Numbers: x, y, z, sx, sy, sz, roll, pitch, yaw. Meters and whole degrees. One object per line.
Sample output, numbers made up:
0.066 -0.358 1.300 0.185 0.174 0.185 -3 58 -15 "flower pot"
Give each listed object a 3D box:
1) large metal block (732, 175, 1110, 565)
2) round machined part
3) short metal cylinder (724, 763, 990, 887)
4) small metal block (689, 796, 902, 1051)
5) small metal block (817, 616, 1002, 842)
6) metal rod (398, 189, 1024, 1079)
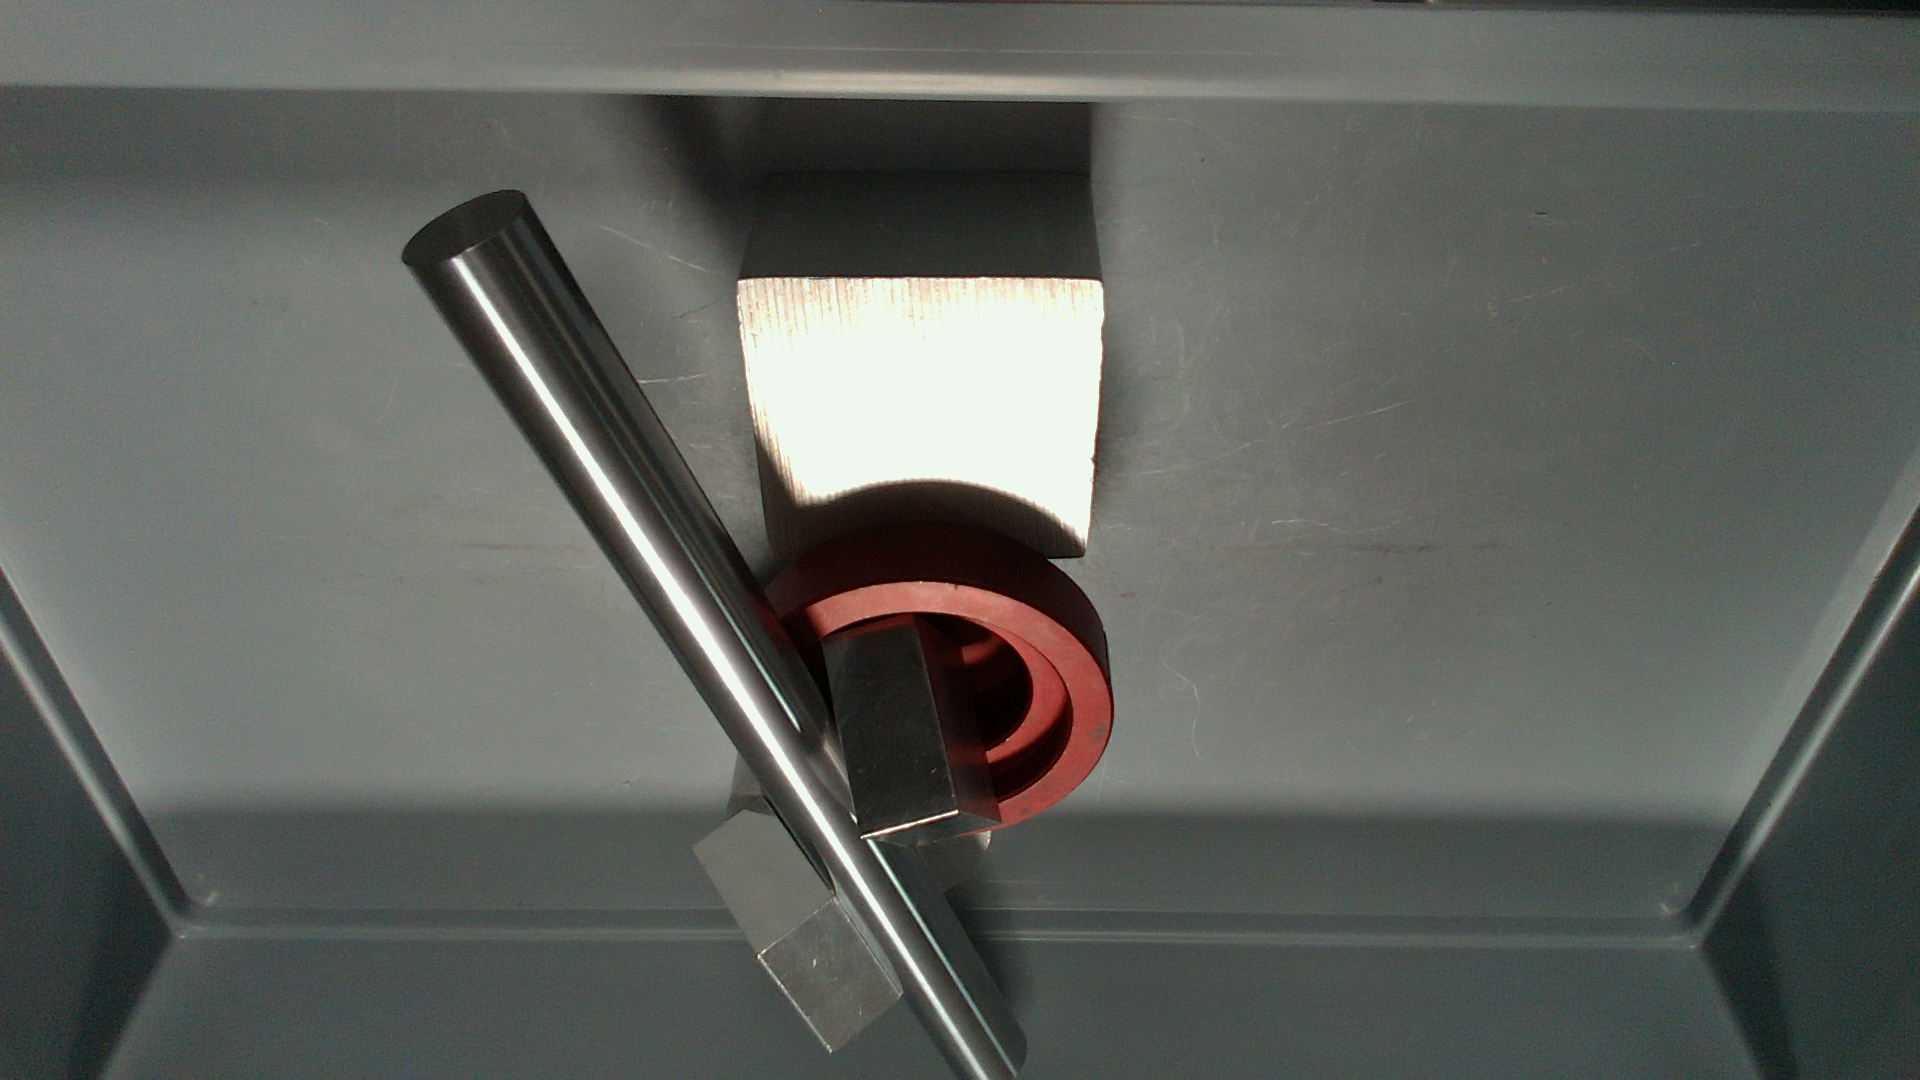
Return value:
-0.008 -0.041 0.337 0.080 0.050 0.080 0 130 0 "large metal block"
-0.009 0.033 0.367 0.098 0.042 0.098 0 130 0 "round machined part"
-0.031 0.070 0.433 0.080 0.050 0.080 0 130 0 "short metal cylinder"
-0.048 0.110 0.397 0.025 0.050 0.050 -35 128 -14 "small metal block"
-0.012 0.049 0.351 0.025 0.050 0.050 -17 163 9 "small metal block"
-0.041 0.051 0.341 0.025 0.025 0.300 -15 129 12 "metal rod"
